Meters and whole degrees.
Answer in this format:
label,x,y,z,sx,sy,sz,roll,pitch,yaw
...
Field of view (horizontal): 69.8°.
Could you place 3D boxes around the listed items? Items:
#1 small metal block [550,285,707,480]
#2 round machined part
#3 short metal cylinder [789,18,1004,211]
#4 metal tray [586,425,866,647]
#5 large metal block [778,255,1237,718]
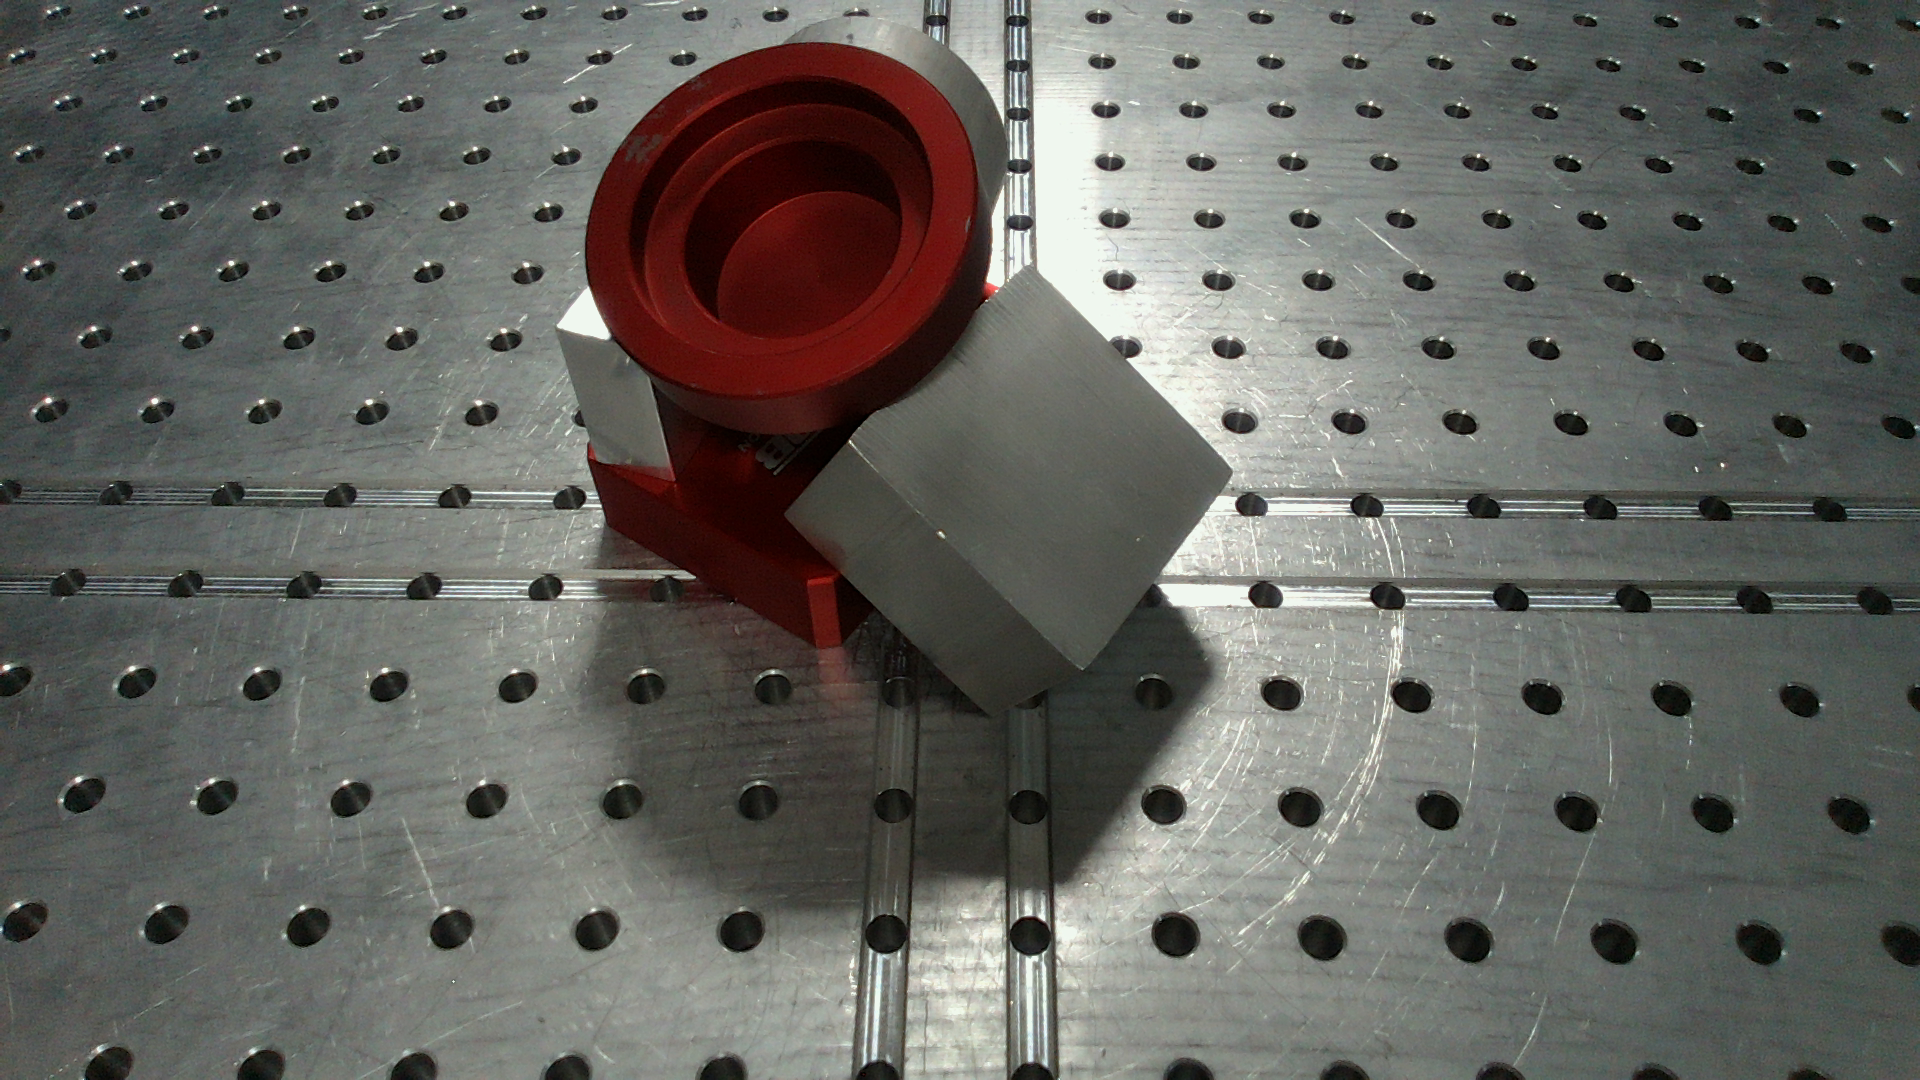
label,x,y,z,sx,sy,sz,roll,pitch,yaw
small metal block,-0.084,-0.054,0.383,0.025,0.050,0.050,15,52,12
round machined part,-0.040,-0.072,0.346,0.098,0.042,0.098,-4,70,11
short metal cylinder,-0.031,-0.104,0.407,0.080,0.080,0.050,10,51,9
metal tray,-0.037,-0.037,0.424,0.090,0.030,0.130,28,55,21
large metal block,0.013,-0.014,0.366,0.080,0.050,0.080,44,58,-4
